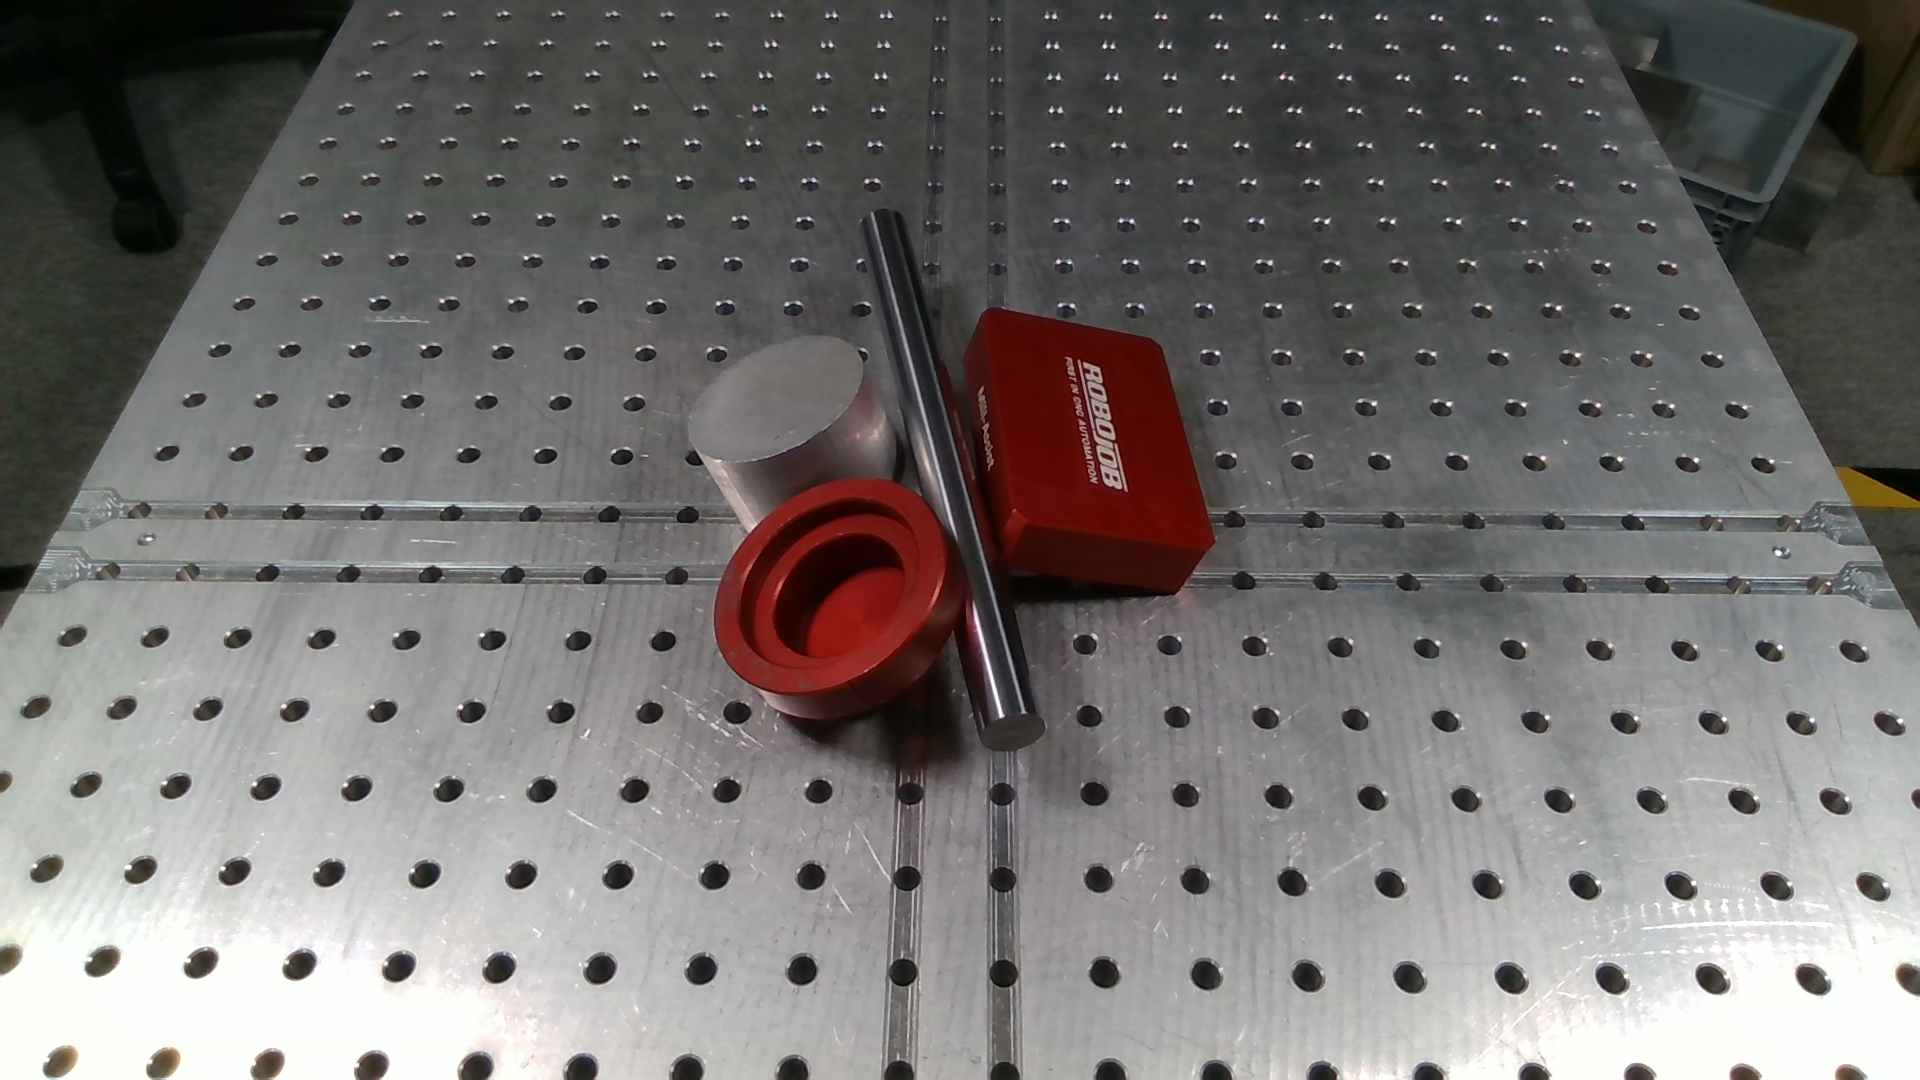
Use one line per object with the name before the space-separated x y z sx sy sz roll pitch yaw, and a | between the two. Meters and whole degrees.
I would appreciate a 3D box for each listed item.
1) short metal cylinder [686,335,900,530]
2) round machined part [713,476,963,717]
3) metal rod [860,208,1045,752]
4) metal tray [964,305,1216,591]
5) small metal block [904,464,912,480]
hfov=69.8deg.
short metal cylinder | -0.071 -0.044 0.595 0.080 0.050 0.080 -13 43 13
round machined part | -0.044 0.026 0.542 0.098 0.042 0.098 -13 52 18
metal rod | -0.010 -0.043 0.592 0.025 0.025 0.299 -9 51 -7
metal tray | 0.053 -0.042 0.604 0.090 0.030 0.130 8 49 -18
small metal block | -0.018 -0.023 0.620 0.050 0.025 0.050 14 52 11
